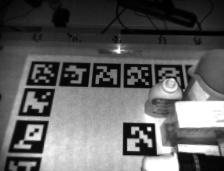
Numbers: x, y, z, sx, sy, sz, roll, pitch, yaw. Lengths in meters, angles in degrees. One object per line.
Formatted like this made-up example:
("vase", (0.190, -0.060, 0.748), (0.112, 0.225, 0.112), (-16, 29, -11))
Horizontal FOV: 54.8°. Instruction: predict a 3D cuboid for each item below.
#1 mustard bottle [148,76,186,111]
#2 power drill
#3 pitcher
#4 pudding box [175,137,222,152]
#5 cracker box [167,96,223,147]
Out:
("mustard bottle", (0.160, 0.015, 0.616), (0.096, 0.192, 0.058), (11, 65, 8))
("power drill", (0.172, 0.194, 0.503), (0.184, 0.188, 0.057), (-1, 60, 0))
("pitcher", (0.292, 0.009, 0.605), (0.188, 0.244, 0.133), (5, 64, 6))
("pudding box", (0.237, 0.171, 0.591), (0.113, 0.090, 0.038), (-1, 62, 4))
("cracker box", (0.244, 0.103, 0.565), (0.164, 0.215, 0.071), (-3, 61, 3))
